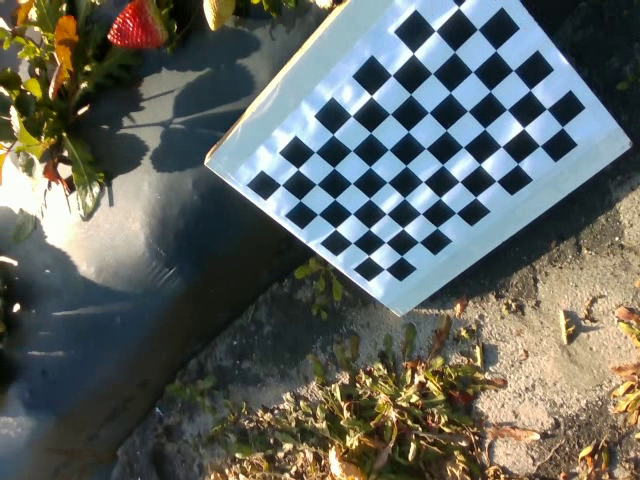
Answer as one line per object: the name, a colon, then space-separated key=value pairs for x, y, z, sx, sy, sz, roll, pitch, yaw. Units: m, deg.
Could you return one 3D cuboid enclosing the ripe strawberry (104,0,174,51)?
ripe strawberry: x=-0.140 y=-0.163 z=0.450 sx=0.053 sy=0.044 sz=0.036 roll=-20 pitch=31 yaw=6
